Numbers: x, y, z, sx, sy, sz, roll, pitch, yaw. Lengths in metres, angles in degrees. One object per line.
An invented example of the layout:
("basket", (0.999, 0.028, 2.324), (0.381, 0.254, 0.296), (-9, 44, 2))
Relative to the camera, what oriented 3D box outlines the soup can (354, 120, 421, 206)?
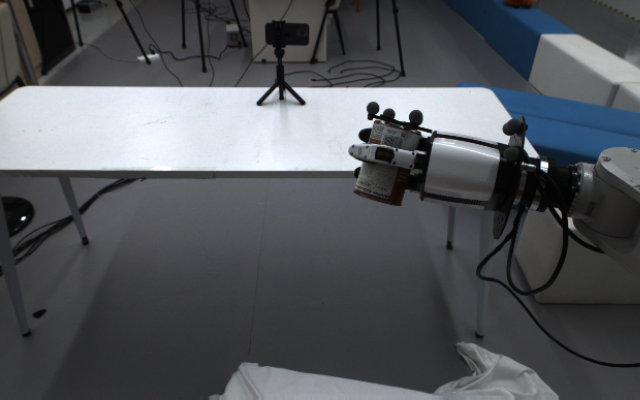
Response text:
("soup can", (0.092, -0.049, 0.655), (0.067, 0.101, 0.067), (15, 7, -2))
